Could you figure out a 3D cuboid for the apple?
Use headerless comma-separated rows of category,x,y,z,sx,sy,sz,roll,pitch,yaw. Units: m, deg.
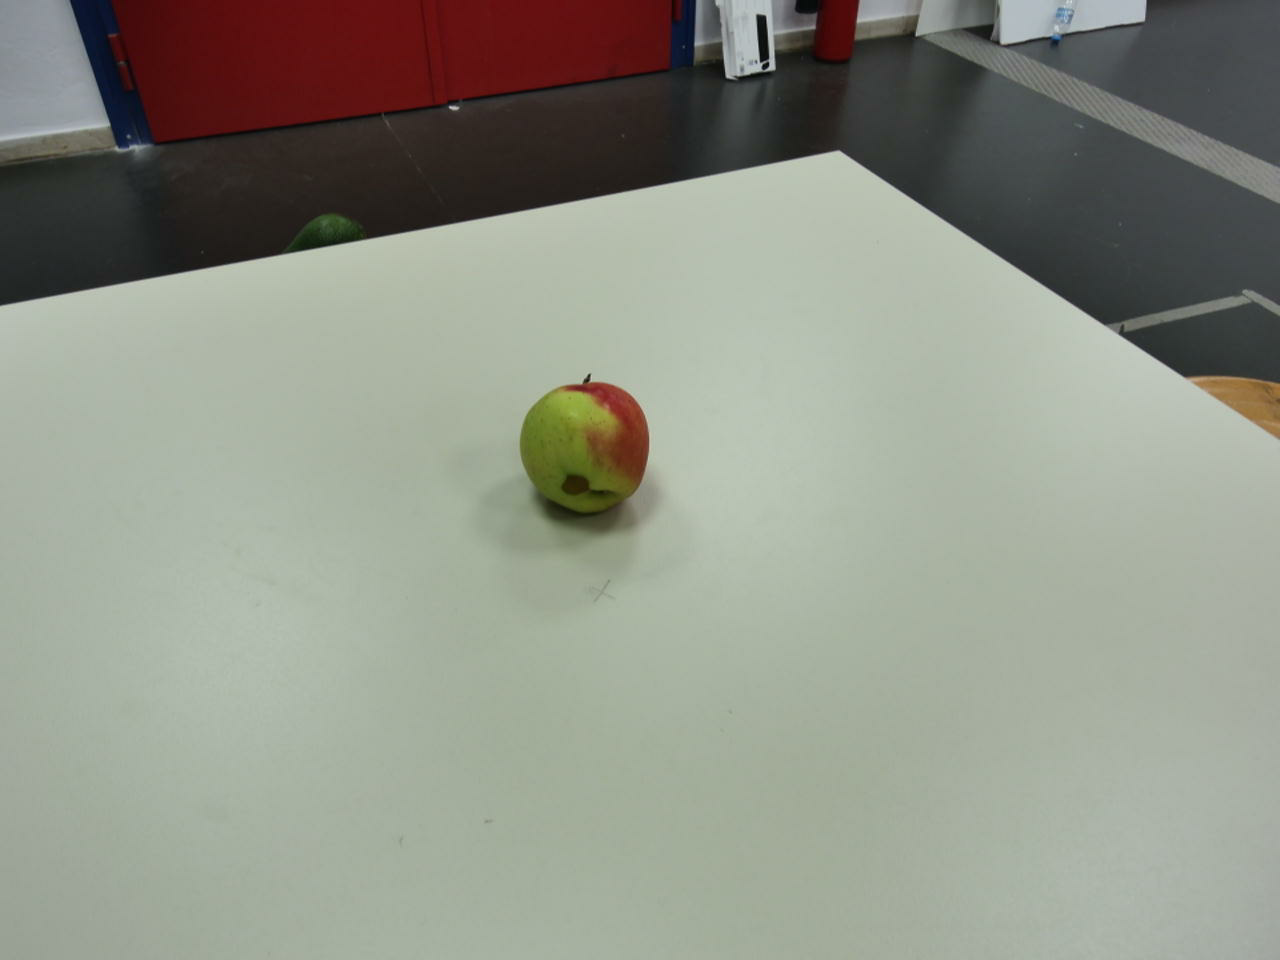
apple,-0.030,-0.021,0.574,0.075,0.074,0.075,-31,48,-33
